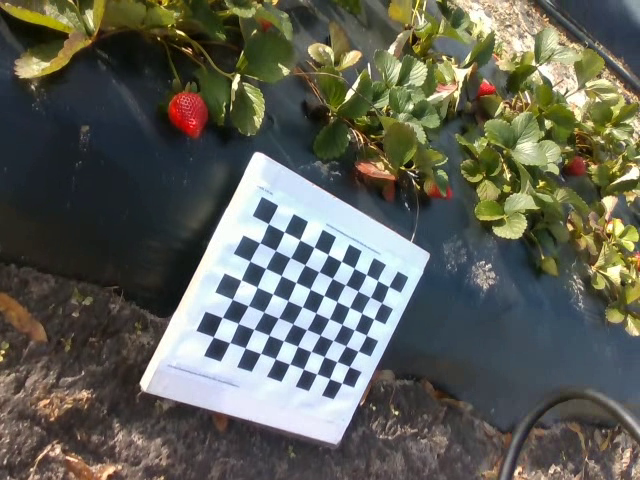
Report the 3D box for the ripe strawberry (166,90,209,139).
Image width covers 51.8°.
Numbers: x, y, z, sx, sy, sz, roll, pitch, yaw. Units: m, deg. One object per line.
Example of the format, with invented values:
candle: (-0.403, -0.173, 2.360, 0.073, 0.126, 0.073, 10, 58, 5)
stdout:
ripe strawberry: (-0.101, -0.099, 0.526, 0.041, 0.047, 0.041, -5, -40, -24)
